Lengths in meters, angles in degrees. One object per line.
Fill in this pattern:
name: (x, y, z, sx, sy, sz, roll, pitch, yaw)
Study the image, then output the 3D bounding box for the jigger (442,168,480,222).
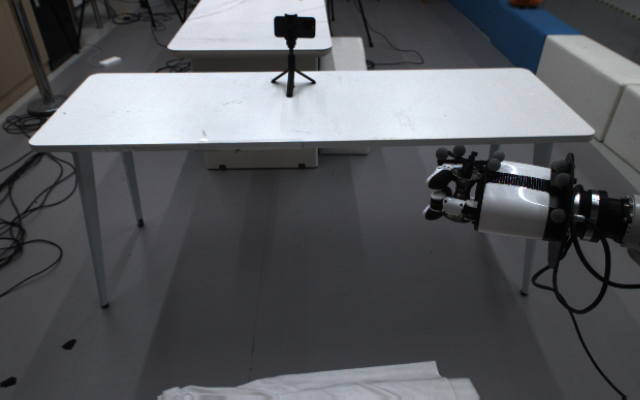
jigger: (0.208, -0.008, 0.701, 0.043, 0.071, 0.043, 3, 24, -1)
